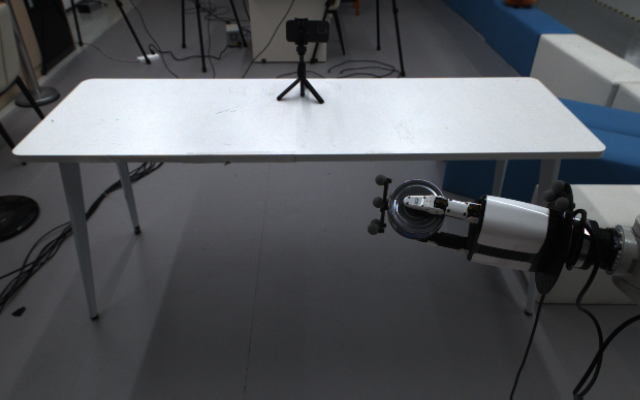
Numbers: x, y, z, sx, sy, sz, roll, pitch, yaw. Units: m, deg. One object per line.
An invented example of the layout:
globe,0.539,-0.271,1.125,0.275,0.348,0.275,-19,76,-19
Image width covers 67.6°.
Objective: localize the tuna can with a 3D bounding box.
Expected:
tuna can,0.144,0.010,0.718,0.085,0.034,0.085,-2,68,5
